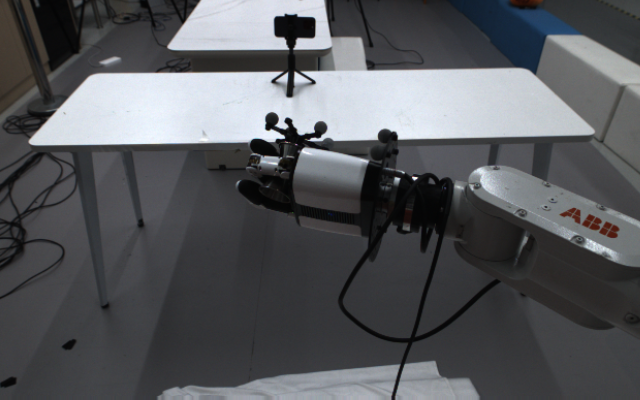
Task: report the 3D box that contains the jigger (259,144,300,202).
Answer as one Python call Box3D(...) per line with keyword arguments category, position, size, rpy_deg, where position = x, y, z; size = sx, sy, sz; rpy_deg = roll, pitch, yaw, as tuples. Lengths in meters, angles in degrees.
Box3D(category="jigger", position=(-0.043, -0.035, 0.620), size=(0.043, 0.043, 0.071), rpy_deg=(13, 70, 16))
